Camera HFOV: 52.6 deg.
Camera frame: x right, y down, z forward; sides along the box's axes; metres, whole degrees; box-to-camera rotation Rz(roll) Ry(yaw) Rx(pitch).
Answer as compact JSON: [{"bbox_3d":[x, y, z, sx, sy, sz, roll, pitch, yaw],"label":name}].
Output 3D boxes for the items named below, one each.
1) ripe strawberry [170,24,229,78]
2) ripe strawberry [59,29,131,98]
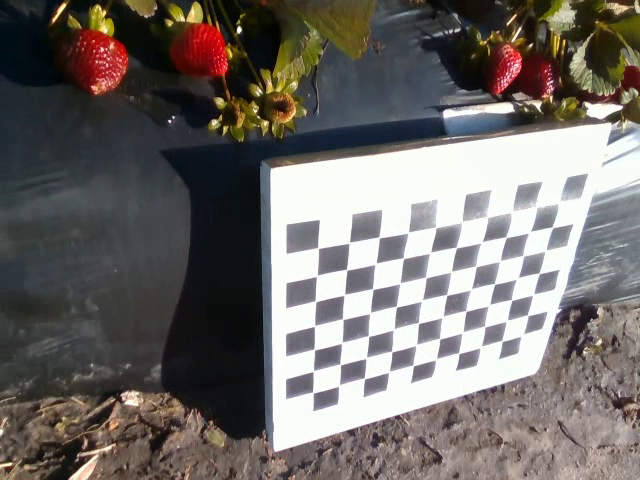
[{"bbox_3d":[-0.076,-0.125,0.424,0.042,0.049,0.039,-44,-22,10],"label":"ripe strawberry"},{"bbox_3d":[-0.142,-0.107,0.398,0.050,0.050,0.045,4,-36,-31],"label":"ripe strawberry"}]
